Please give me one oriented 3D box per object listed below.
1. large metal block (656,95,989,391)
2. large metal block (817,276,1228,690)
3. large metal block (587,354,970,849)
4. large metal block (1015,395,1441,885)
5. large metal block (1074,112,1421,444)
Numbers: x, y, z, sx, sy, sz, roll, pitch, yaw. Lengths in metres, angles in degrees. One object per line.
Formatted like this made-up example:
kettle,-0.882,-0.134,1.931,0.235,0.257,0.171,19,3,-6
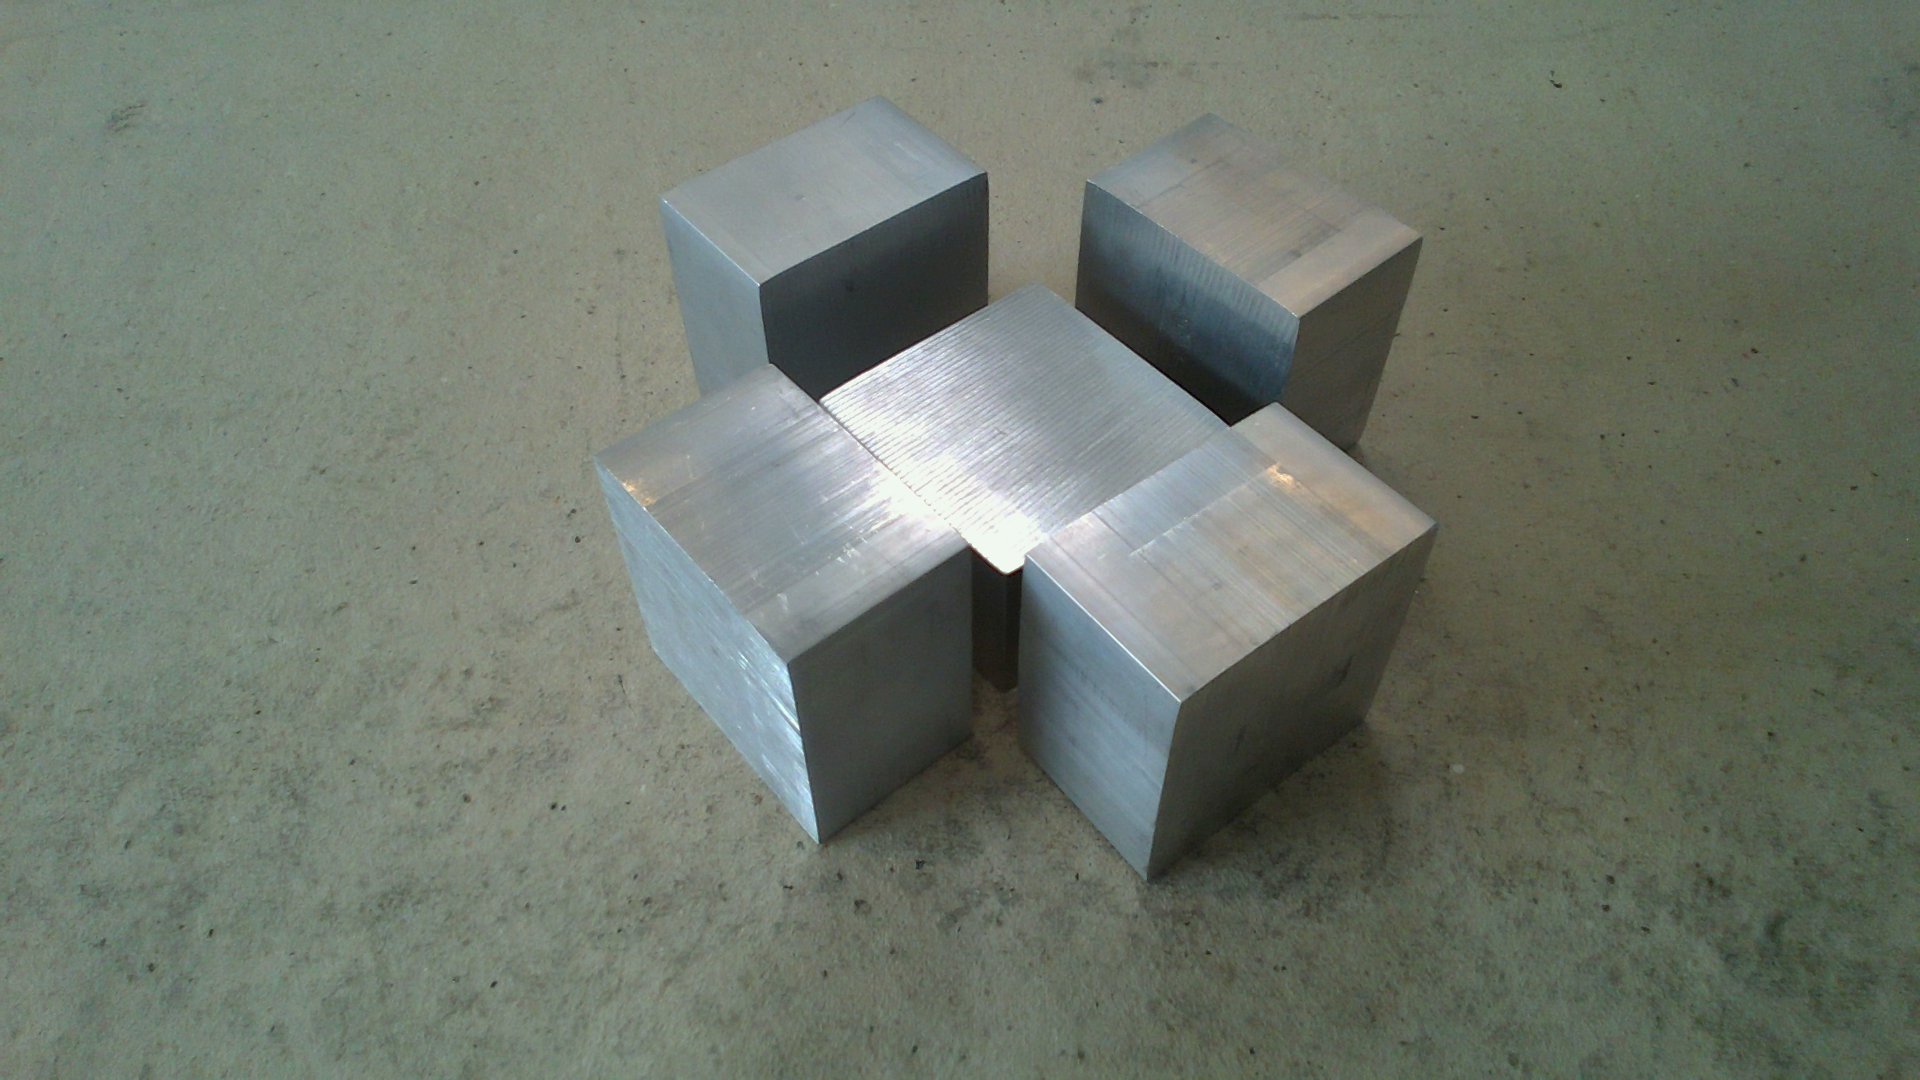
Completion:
large metal block,-0.038,-0.076,0.421,0.080,0.080,0.050,-32,56,-24
large metal block,0.016,-0.019,0.388,0.080,0.050,0.080,-32,57,-24
large metal block,-0.042,0.015,0.342,0.050,0.080,0.080,-33,57,-24
large metal block,0.061,0.025,0.335,0.080,0.080,0.050,-31,55,-23
large metal block,0.080,-0.067,0.412,0.050,0.080,0.080,-33,57,-25
